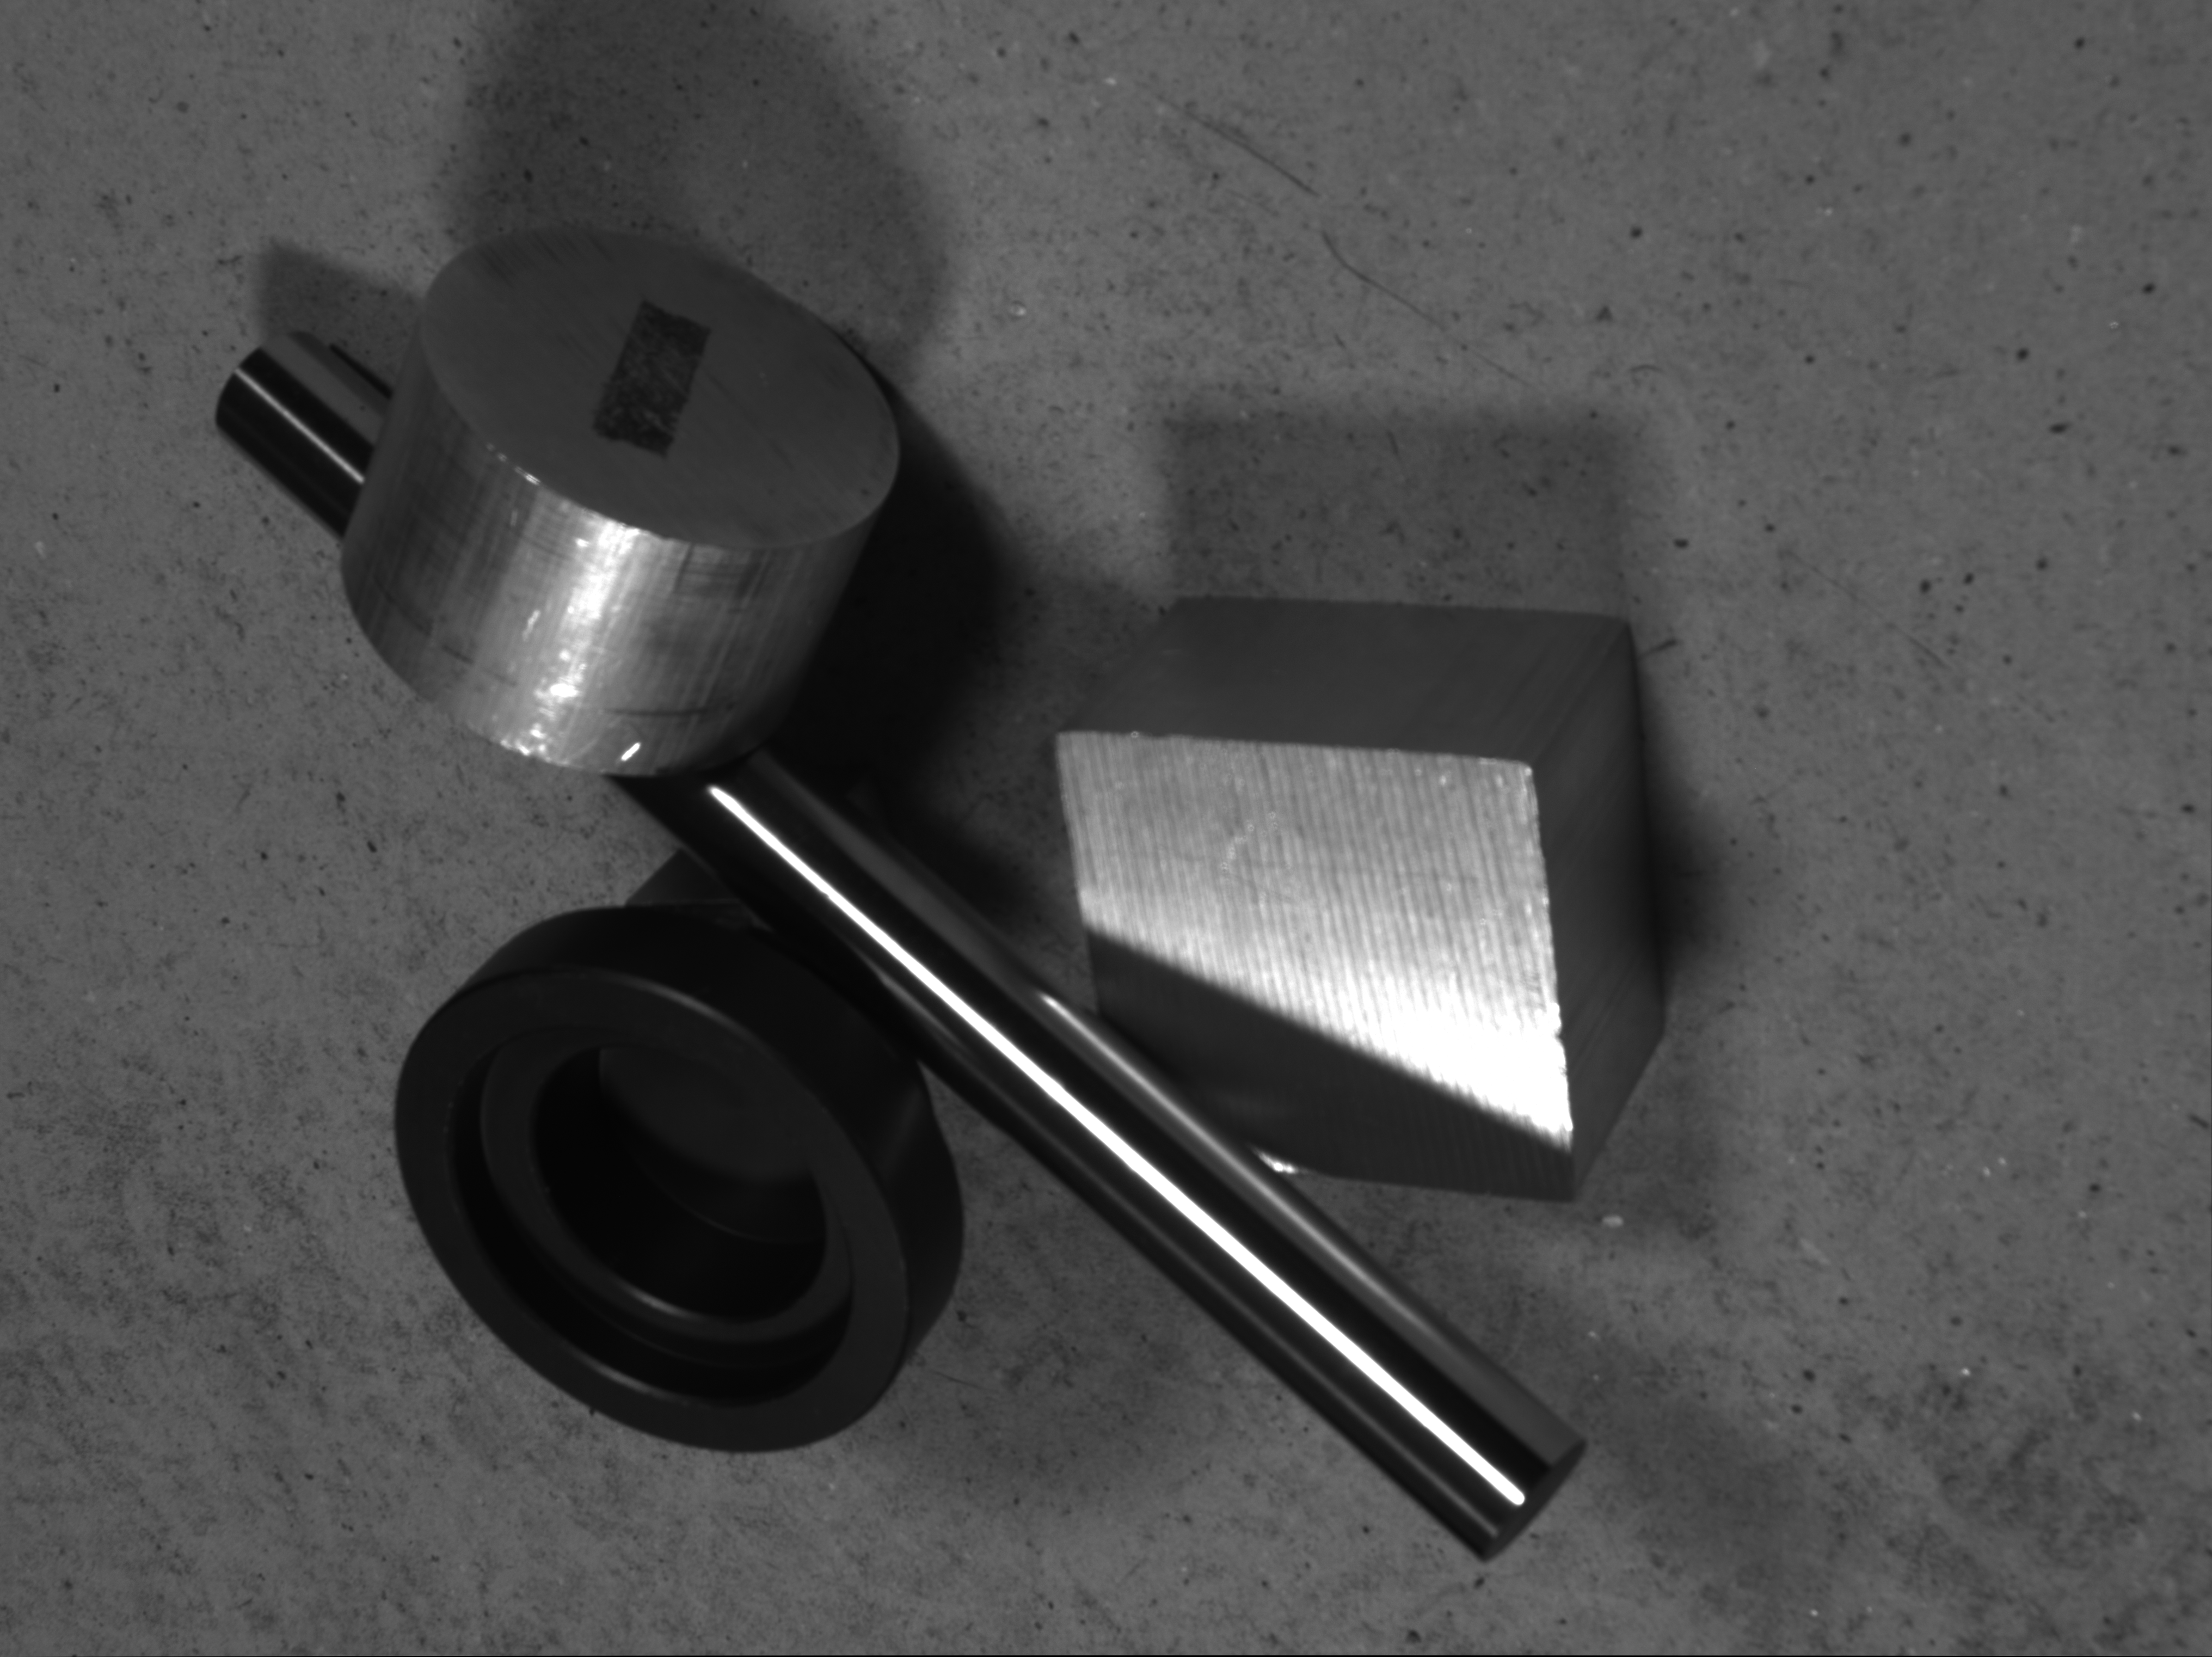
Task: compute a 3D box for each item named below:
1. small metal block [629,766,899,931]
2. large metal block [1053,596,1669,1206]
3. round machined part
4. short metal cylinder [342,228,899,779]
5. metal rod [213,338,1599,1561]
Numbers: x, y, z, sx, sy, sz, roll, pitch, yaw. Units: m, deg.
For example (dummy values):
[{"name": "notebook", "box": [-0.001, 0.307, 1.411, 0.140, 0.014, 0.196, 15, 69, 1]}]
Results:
[{"name": "small metal block", "box": [-0.056, 0.023, 0.658, 0.025, 0.050, 0.050, -2, 117, 28]}, {"name": "large metal block", "box": [0.044, 0.010, 0.600, 0.080, 0.050, 0.080, 4, 120, 25]}, {"name": "round machined part", "box": [-0.068, 0.055, 0.625, 0.098, 0.042, 0.098, 13, 125, 19]}, {"name": "short metal cylinder", "box": [-0.080, -0.054, 0.604, 0.080, 0.080, 0.050, 33, 128, 6]}, {"name": "metal rod", "box": [-0.041, 0.013, 0.612, 0.300, 0.025, 0.025, 40, 129, 18]}]
